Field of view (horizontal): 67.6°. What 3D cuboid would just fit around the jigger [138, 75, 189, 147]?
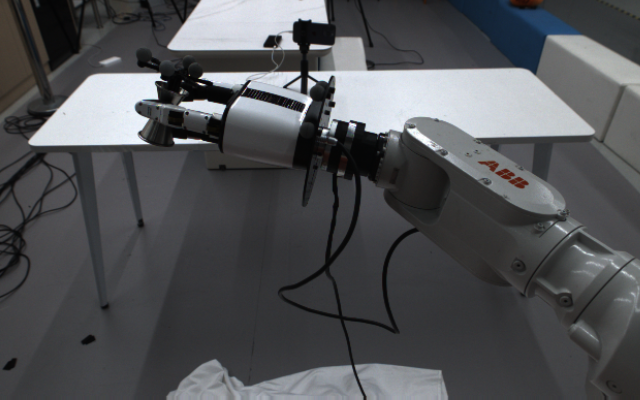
[{"bbox_3d":[-0.187,-0.102,0.581,0.043,0.071,0.043,22,19,-8],"label":"jigger"}]
